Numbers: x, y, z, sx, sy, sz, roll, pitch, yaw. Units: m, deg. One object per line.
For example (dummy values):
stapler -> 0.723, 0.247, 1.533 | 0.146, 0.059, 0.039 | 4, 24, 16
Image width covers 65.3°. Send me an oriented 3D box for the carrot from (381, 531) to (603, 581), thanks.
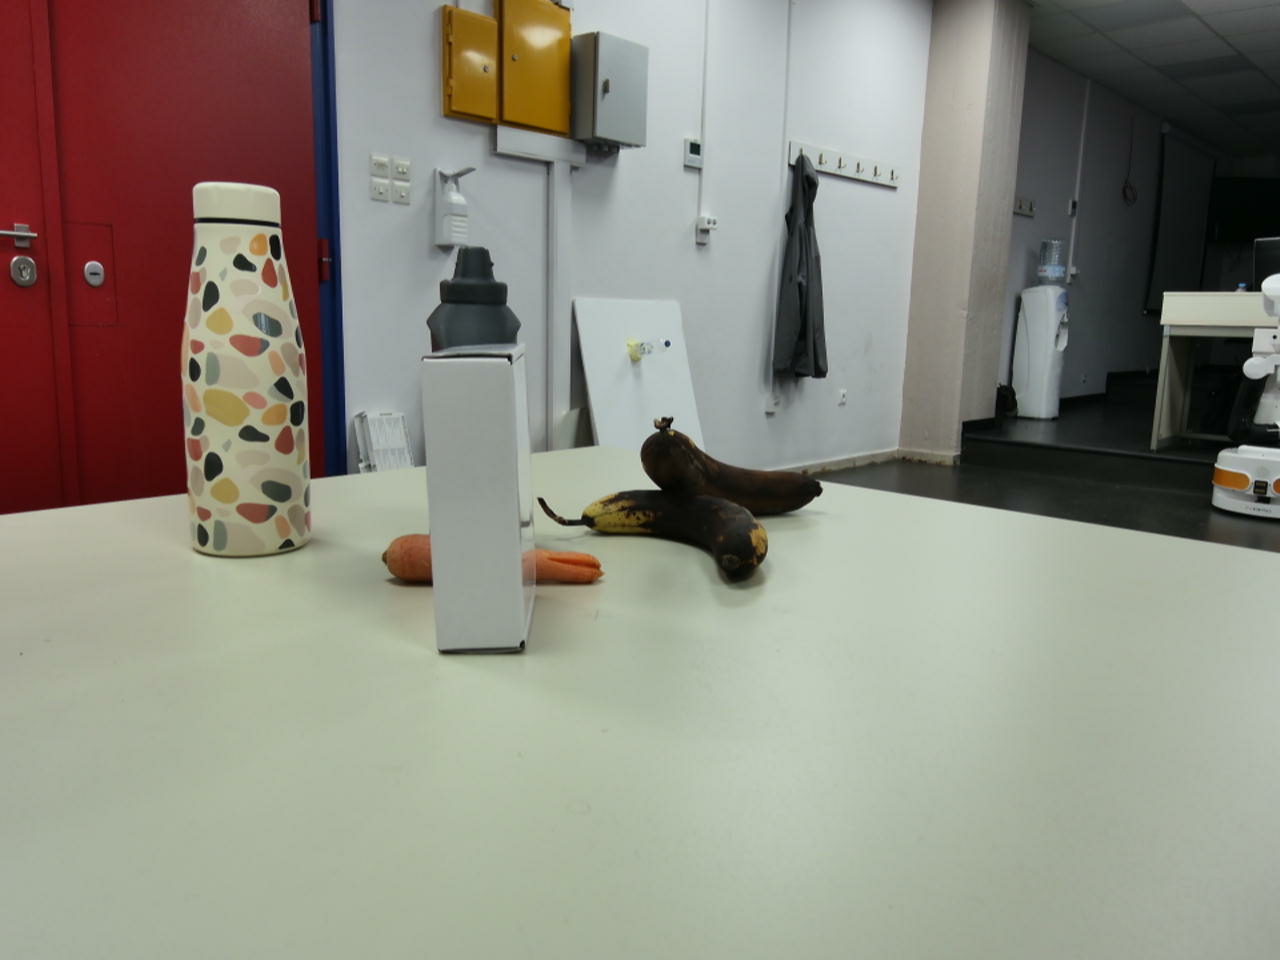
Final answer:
carrot -> -0.091, 0.048, 0.623 | 0.136, 0.032, 0.030 | 0, 8, -2
